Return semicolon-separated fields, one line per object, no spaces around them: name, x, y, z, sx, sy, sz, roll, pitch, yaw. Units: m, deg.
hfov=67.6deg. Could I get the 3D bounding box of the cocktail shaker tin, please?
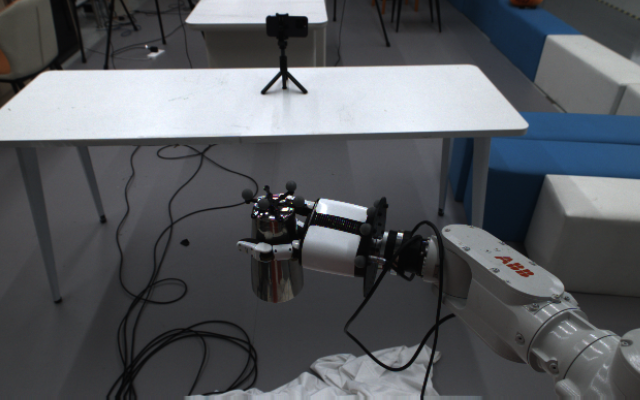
cocktail shaker tin;-0.070;0.074;0.796;0.093;0.170;0.093;1;39;-1
